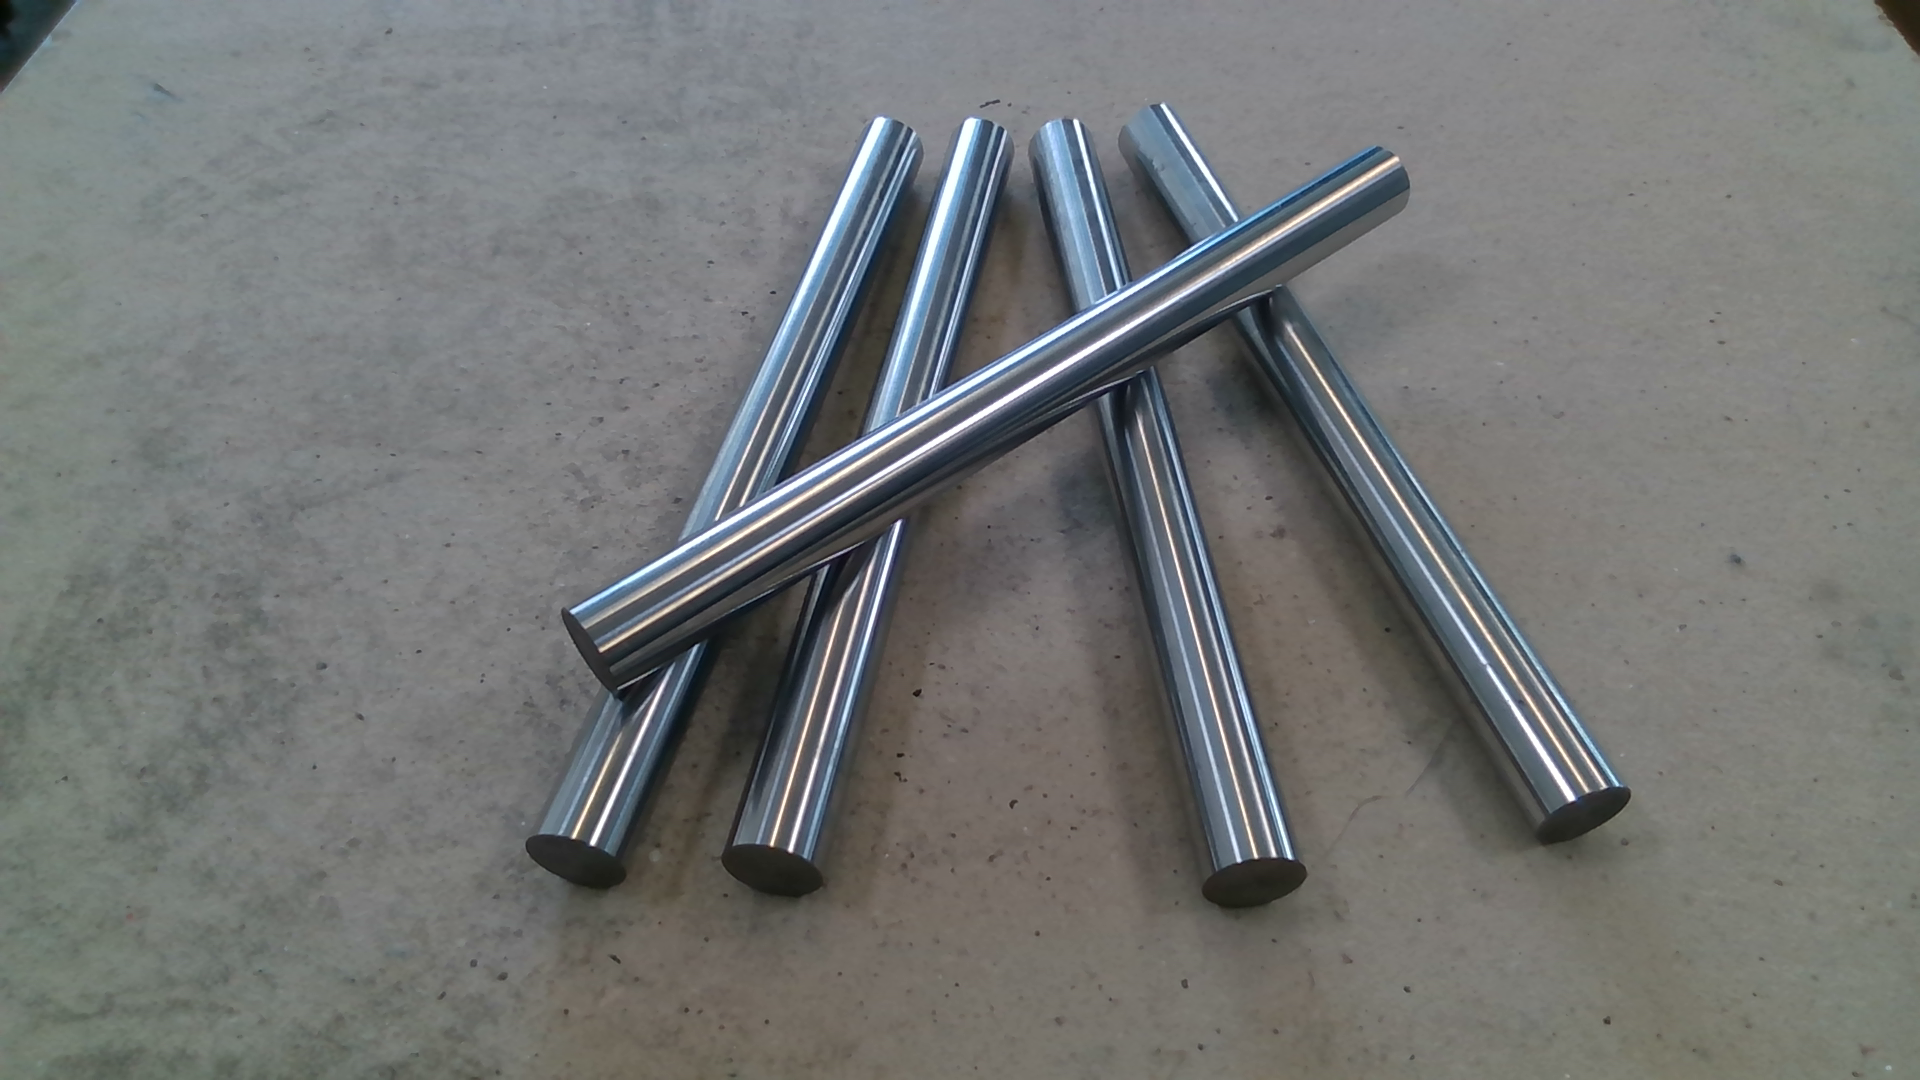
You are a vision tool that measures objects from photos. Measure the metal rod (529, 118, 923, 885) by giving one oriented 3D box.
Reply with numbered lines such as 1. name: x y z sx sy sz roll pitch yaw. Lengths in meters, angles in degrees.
1. metal rod: -0.059 -0.035 0.424 0.025 0.025 0.299 10 51 8

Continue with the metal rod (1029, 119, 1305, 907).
1. metal rod: 0.054 -0.033 0.422 0.025 0.025 0.299 -5 51 -4

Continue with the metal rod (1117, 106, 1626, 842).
1. metal rod: 0.112 -0.043 0.431 0.025 0.025 0.299 -12 51 -10

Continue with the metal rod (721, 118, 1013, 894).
1. metal rod: -0.019 -0.034 0.423 0.025 0.025 0.299 8 51 7

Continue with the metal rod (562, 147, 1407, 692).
1. metal rod: 0.024 -0.046 0.399 0.300 0.025 0.025 -32 57 -24
